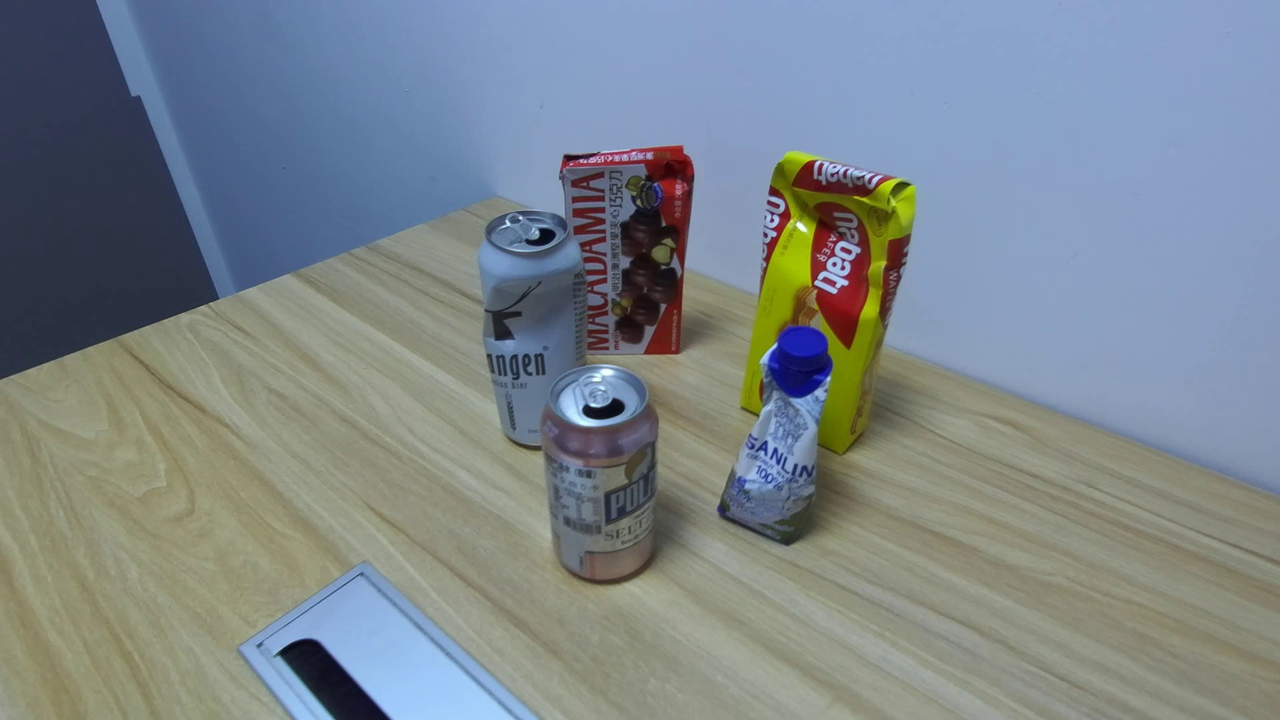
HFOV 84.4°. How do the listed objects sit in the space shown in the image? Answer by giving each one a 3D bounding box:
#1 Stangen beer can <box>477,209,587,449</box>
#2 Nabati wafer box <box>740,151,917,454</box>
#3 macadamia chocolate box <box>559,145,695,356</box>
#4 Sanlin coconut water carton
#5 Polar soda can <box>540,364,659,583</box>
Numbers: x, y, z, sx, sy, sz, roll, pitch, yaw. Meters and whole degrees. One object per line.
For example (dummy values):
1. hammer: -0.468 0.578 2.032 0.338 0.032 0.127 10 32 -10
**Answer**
1. Stangen beer can: -0.074 -0.019 0.502 0.070 0.173 0.070 25 42 27
2. Nabati wafer box: 0.127 -0.036 0.500 0.113 0.205 0.043 24 39 32
3. macadamia chocolate box: -0.009 -0.084 0.581 0.103 0.187 0.027 0 39 0
4. Sanlin coconut water carton: 0.097 0.043 0.444 0.056 0.144 0.068 23 32 18
5. Polar soda can: -0.022 0.069 0.420 0.067 0.126 0.067 1 34 0
